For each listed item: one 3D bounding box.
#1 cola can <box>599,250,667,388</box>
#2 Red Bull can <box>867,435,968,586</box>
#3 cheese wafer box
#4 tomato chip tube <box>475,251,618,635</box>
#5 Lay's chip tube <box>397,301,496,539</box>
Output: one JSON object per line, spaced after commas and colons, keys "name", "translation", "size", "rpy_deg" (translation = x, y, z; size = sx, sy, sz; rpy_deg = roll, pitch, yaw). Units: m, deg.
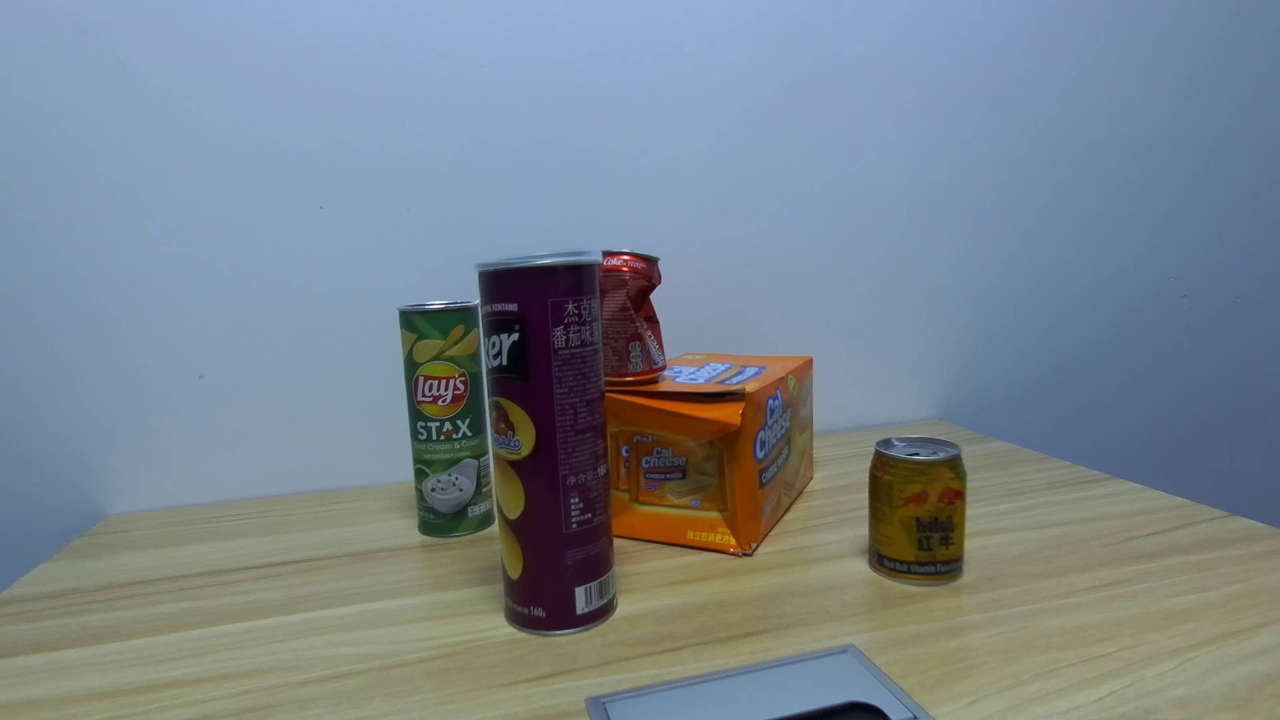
{"name": "cola can", "translation": [-0.011, -0.037, 0.602], "size": [0.069, 0.112, 0.065], "rpy_deg": [-11, 12, -42]}
{"name": "Red Bull can", "translation": [0.200, 0.107, 0.512], "size": [0.069, 0.092, 0.069], "rpy_deg": [-2, 8, 1]}
{"name": "cheese wafer box", "translation": [0.066, 0.070, 0.656], "size": [0.149, 0.137, 0.228], "rpy_deg": [3, 9, 26]}
{"name": "tomato chip tube", "translation": [-0.058, 0.054, 0.464], "size": [0.078, 0.233, 0.078], "rpy_deg": [-3, 8, 1]}
{"name": "Lay's chip tube", "translation": [-0.168, 0.050, 0.630], "size": [0.071, 0.202, 0.071], "rpy_deg": [-2, 8, 1]}
